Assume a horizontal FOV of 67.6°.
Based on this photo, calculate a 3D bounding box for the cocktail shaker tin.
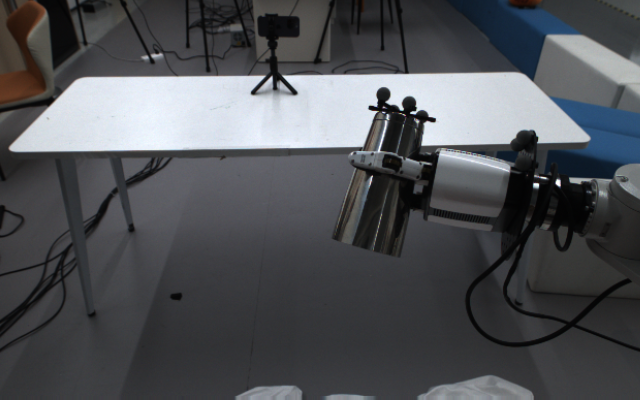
[{"bbox_3d":[0.082,-0.021,0.619,0.093,0.170,0.093,15,-2,0],"label":"cocktail shaker tin"}]
